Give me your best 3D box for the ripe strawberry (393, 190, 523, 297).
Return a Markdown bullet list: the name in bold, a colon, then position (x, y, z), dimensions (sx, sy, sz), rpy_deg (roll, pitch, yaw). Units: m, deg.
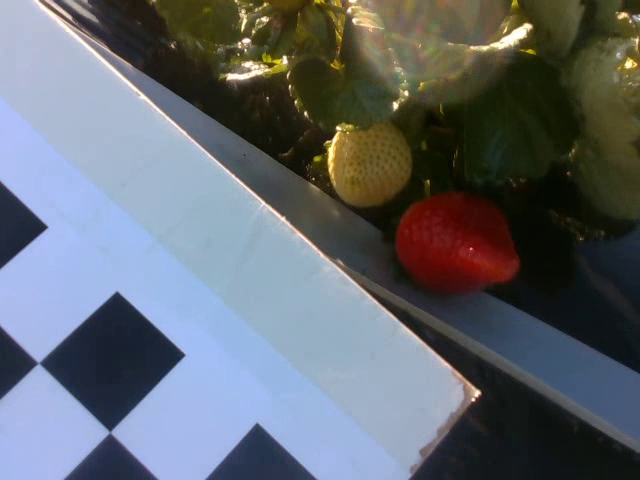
- **ripe strawberry**: position (0.050, 0.002, 0.216), dimensions (0.045, 0.049, 0.064), rpy_deg (-23, 16, -6)
